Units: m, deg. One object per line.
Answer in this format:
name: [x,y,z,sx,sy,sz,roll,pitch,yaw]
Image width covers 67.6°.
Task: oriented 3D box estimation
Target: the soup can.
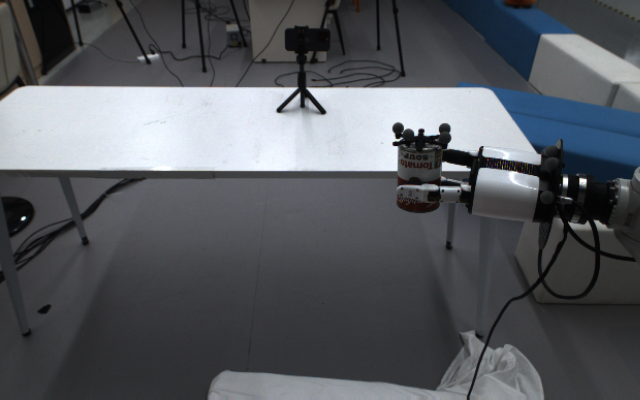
soup can: [0.154,-0.042,0.743,0.067,0.101,0.067,-4,27,2]
